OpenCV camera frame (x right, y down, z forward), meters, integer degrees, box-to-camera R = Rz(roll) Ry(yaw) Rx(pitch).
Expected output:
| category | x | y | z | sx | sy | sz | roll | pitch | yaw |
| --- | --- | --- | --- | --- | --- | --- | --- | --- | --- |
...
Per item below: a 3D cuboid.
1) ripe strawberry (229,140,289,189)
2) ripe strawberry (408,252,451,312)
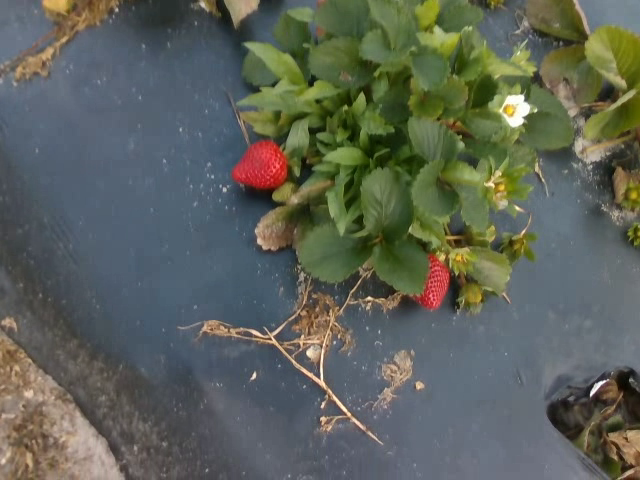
| category | x | y | z | sx | sy | sz | roll | pitch | yaw |
| --- | --- | --- | --- | --- | --- | --- | --- | --- | --- |
| ripe strawberry | -0.049 | -0.058 | 0.493 | 0.050 | 0.043 | 0.042 | -27 | -3 | -22 |
| ripe strawberry | 0.084 | 0.035 | 0.497 | 0.043 | 0.046 | 0.047 | -14 | -32 | 4 |
